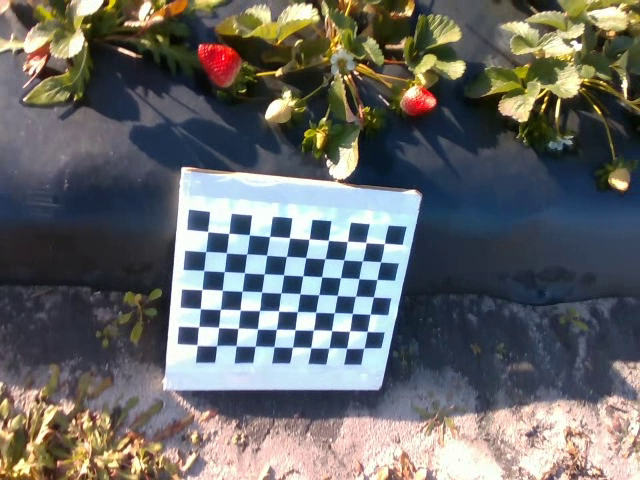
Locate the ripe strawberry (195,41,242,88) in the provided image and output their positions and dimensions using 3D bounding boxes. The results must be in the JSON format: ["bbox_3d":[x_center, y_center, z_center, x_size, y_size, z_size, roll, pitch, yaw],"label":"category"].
[{"bbox_3d":[-0.096,-0.167,0.670,0.053,0.044,0.036,31,11,-33],"label":"ripe strawberry"}]

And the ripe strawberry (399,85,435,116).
[{"bbox_3d":[0.103,-0.142,0.729,0.042,0.037,0.045,-28,31,-37],"label":"ripe strawberry"}]
